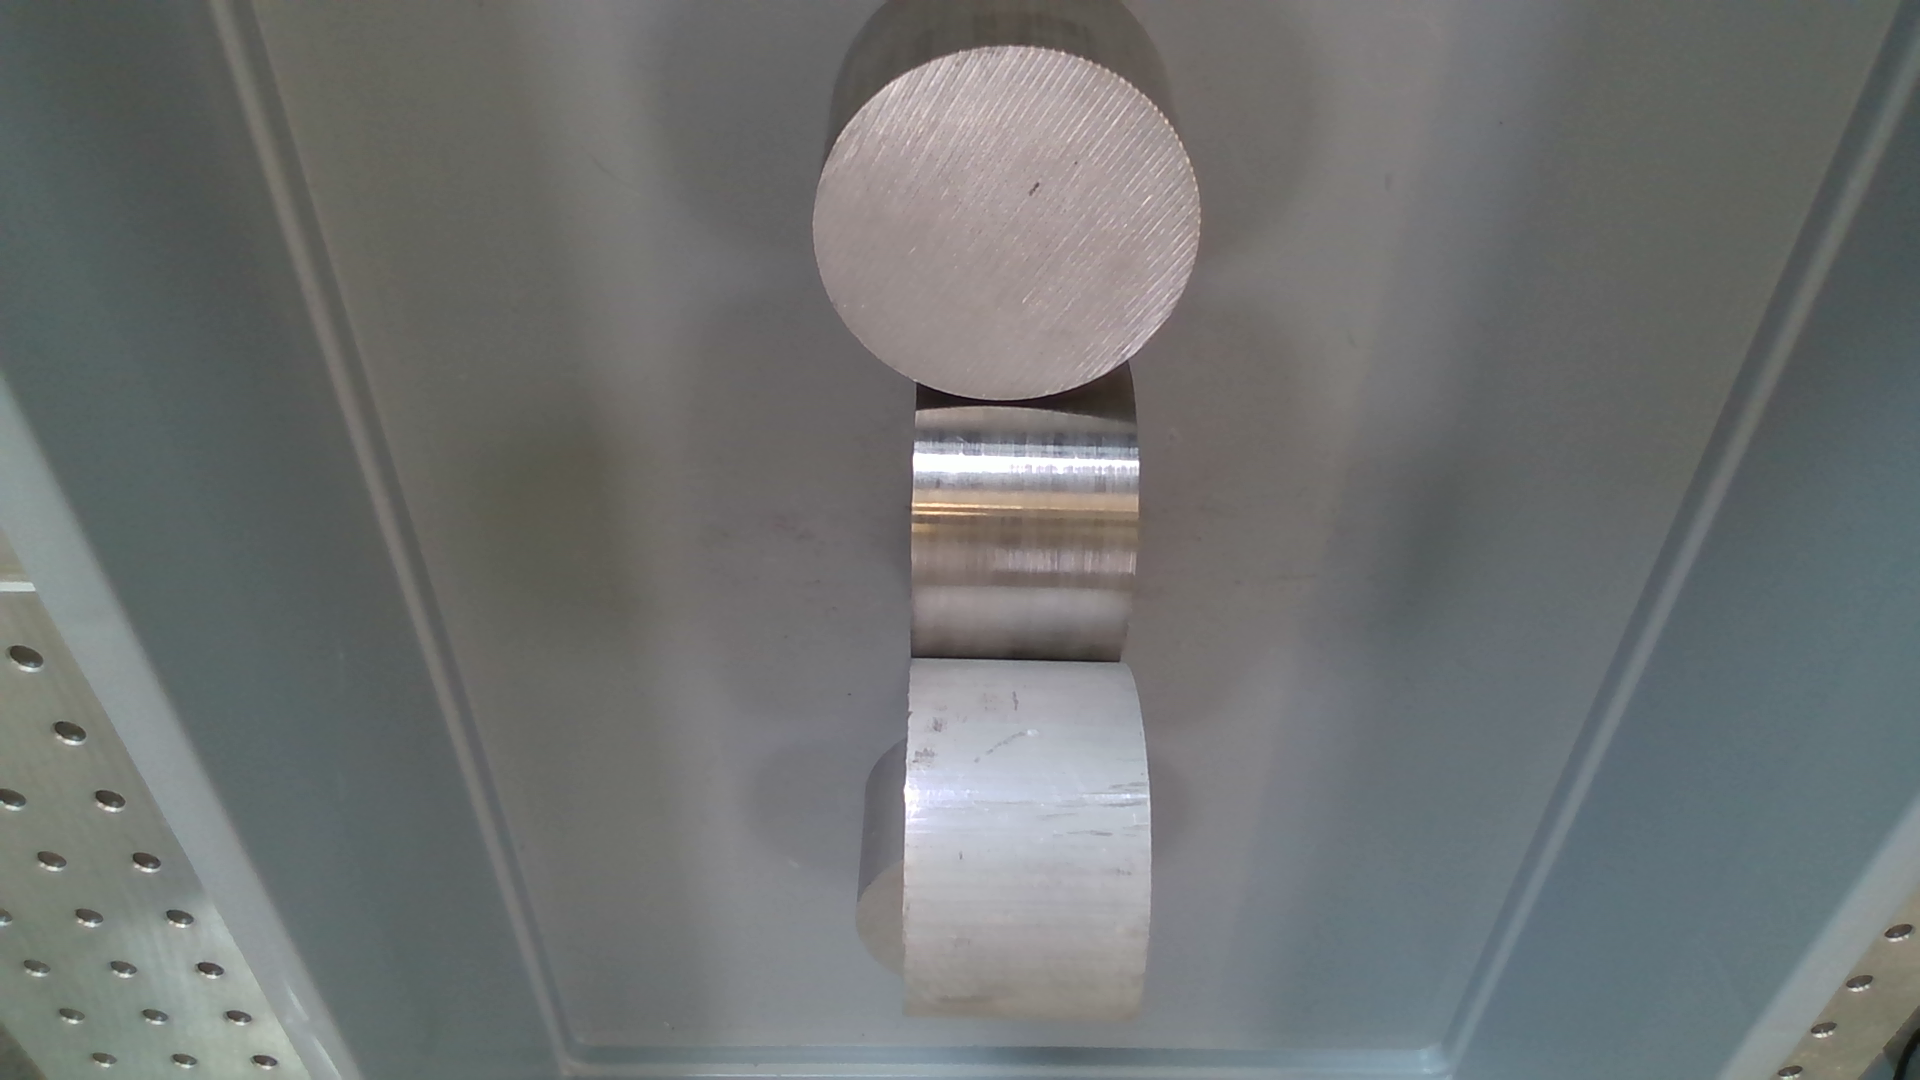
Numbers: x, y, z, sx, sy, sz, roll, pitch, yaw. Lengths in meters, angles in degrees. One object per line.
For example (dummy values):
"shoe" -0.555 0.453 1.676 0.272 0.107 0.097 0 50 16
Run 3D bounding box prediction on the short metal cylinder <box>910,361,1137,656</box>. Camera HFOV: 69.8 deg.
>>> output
"short metal cylinder" 0.013 -0.007 0.345 0.050 0.080 0.080 1 130 -1

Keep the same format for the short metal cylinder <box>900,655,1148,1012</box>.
"short metal cylinder" 0.012 0.067 0.319 0.050 0.080 0.080 1 130 -1

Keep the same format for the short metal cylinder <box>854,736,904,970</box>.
"short metal cylinder" 0.006 0.105 0.460 0.080 0.050 0.080 0 130 0

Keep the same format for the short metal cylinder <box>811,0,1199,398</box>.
"short metal cylinder" 0.009 -0.079 0.304 0.080 0.050 0.080 0 130 0

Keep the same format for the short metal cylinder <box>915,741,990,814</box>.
"short metal cylinder" 0.011 0.054 0.397 0.050 0.080 0.080 1 130 -1
